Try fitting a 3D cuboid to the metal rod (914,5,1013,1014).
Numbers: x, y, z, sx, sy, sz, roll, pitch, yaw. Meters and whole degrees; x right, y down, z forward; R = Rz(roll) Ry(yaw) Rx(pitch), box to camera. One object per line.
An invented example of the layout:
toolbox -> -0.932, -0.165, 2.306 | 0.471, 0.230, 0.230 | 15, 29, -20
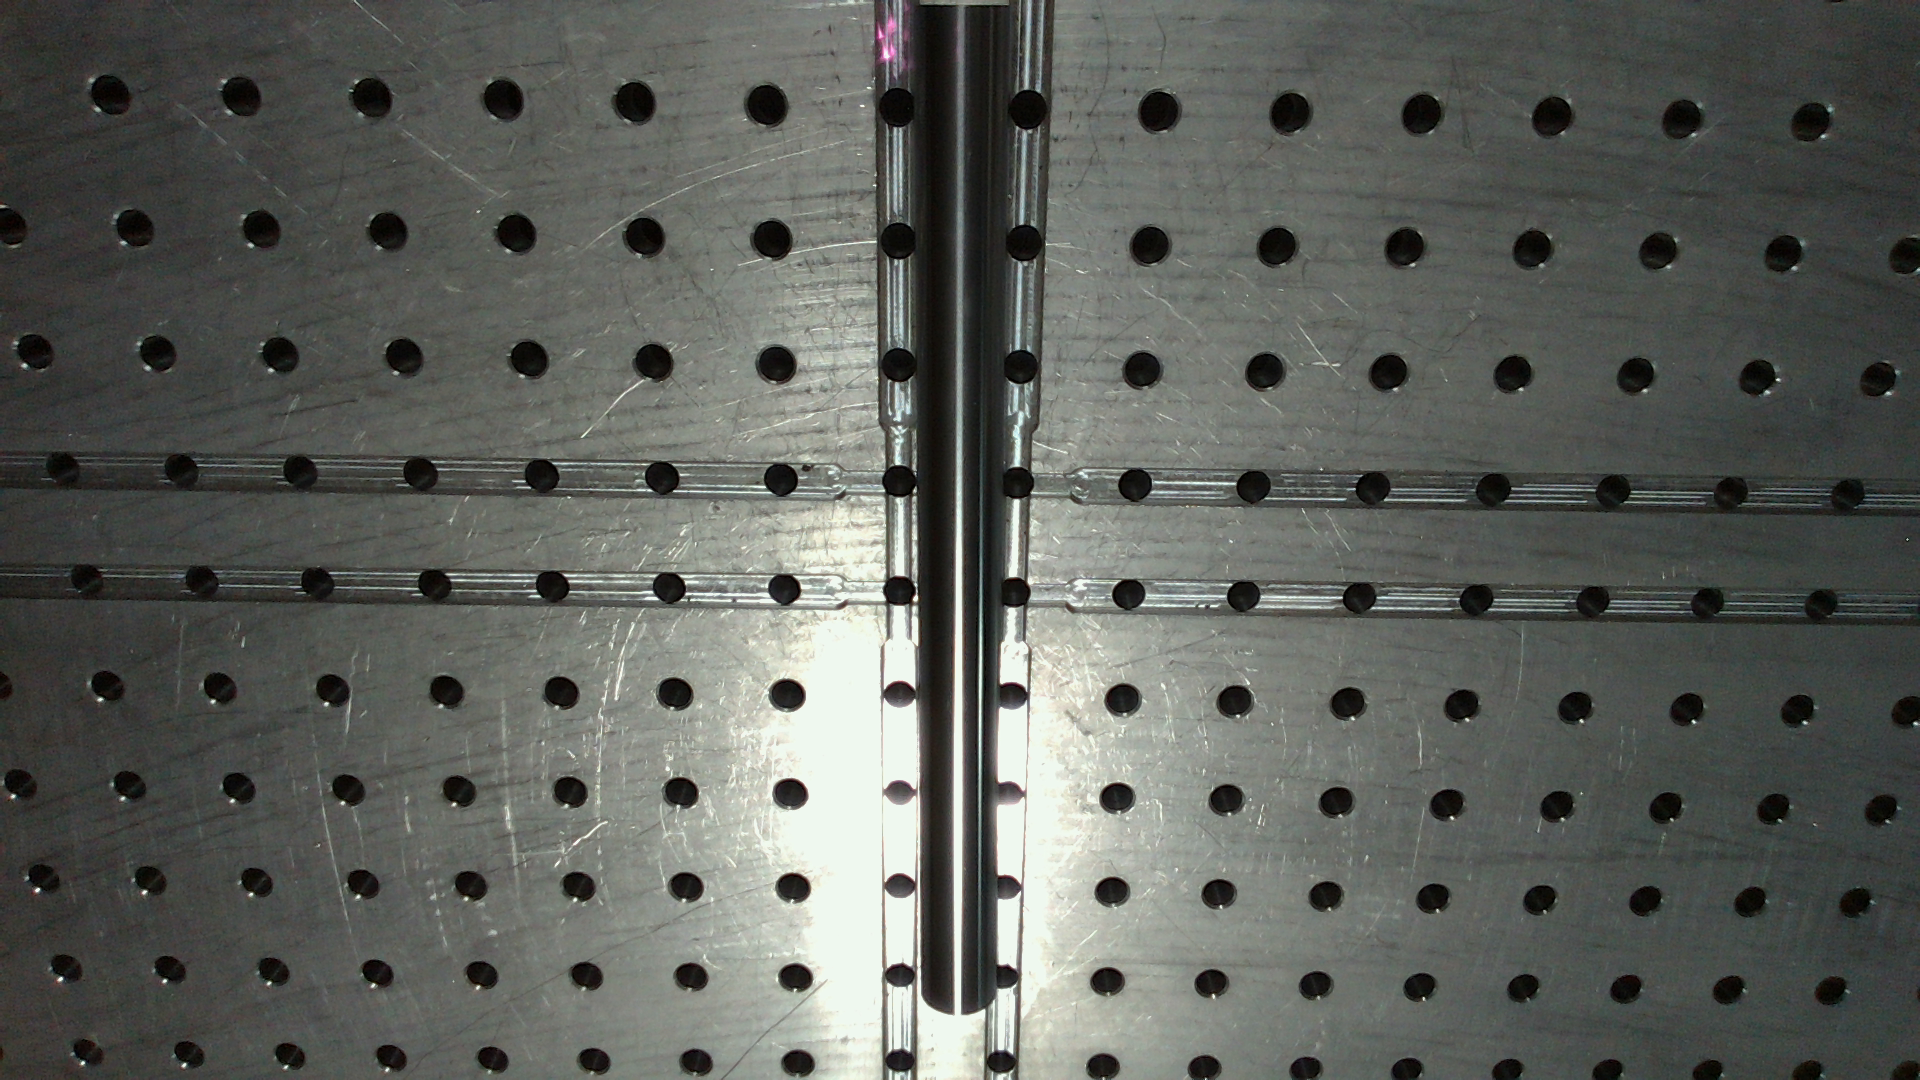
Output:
metal rod -> 0.000, 0.006, 0.399 | 0.025, 0.025, 0.300 | 0, 110, 0
